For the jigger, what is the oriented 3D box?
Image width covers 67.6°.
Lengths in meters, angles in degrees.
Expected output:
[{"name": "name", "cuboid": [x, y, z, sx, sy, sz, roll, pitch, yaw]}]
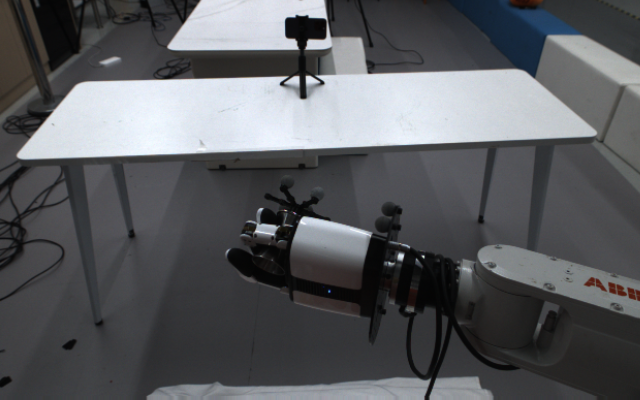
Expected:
[{"name": "jigger", "cuboid": [-0.046, 0.048, 0.579, 0.043, 0.043, 0.071, 15, 58, 18]}]
